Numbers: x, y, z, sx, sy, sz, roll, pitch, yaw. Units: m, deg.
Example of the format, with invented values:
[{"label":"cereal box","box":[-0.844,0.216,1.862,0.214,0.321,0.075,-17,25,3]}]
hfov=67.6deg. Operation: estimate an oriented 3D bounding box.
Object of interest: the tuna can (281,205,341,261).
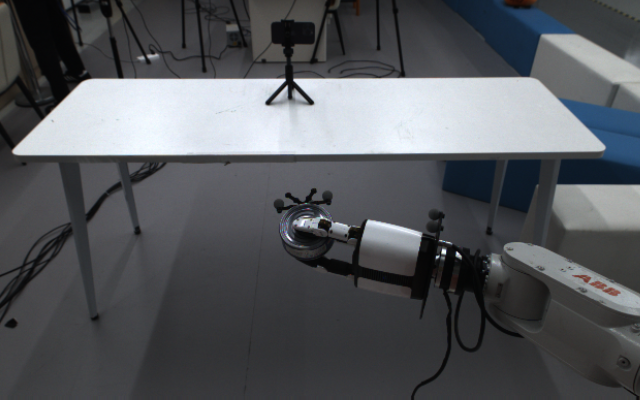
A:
[{"label":"tuna can","box":[-0.016,0.054,0.747,0.085,0.034,0.085,-3,58,5]}]
